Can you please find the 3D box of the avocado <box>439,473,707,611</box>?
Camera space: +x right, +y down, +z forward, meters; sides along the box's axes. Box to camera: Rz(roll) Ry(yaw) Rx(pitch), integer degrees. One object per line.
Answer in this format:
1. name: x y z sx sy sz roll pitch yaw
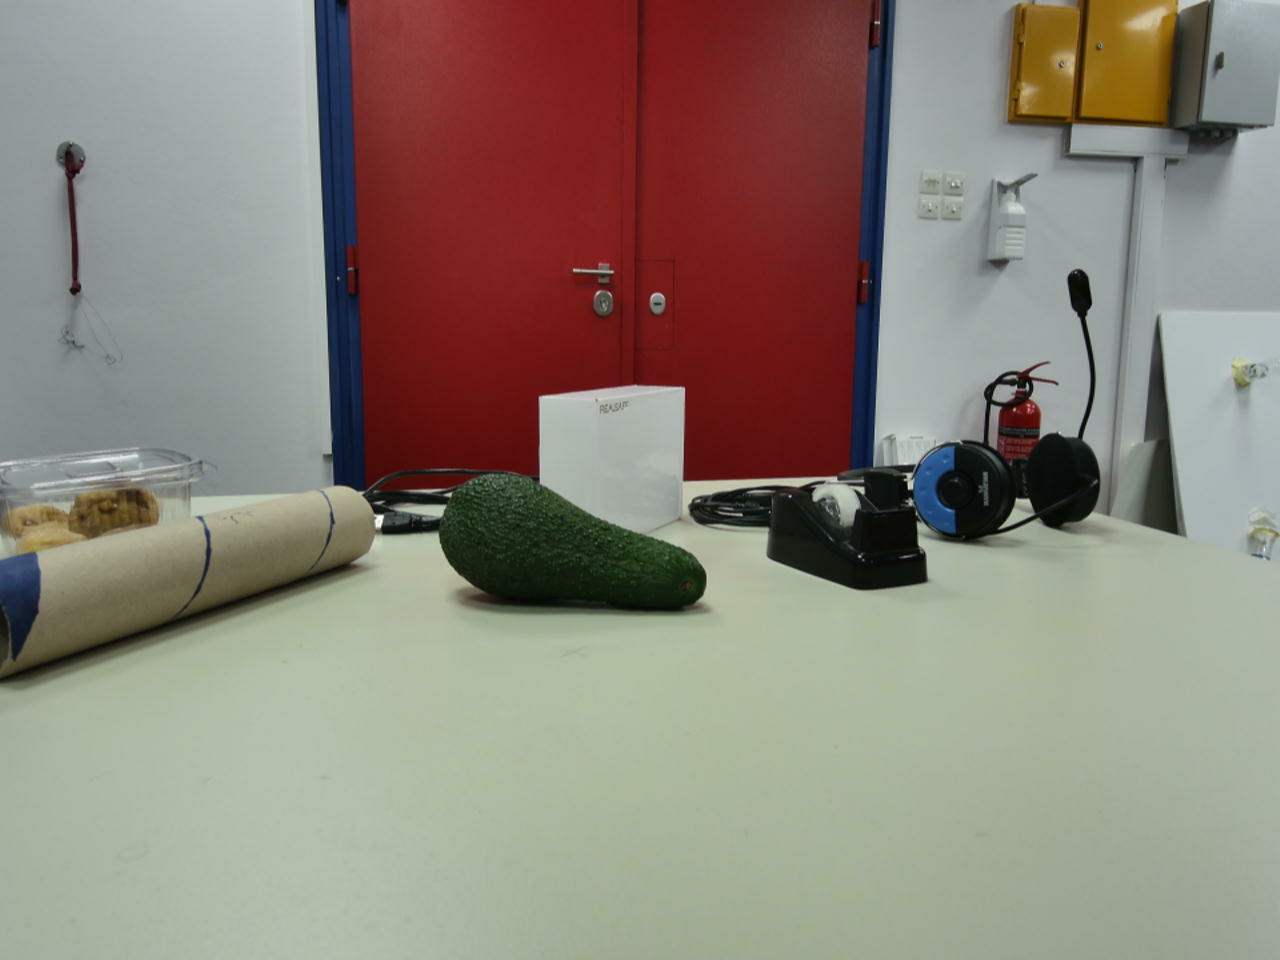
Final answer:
1. avocado: -0.035 0.030 0.518 0.141 0.067 0.063 0 6 2
